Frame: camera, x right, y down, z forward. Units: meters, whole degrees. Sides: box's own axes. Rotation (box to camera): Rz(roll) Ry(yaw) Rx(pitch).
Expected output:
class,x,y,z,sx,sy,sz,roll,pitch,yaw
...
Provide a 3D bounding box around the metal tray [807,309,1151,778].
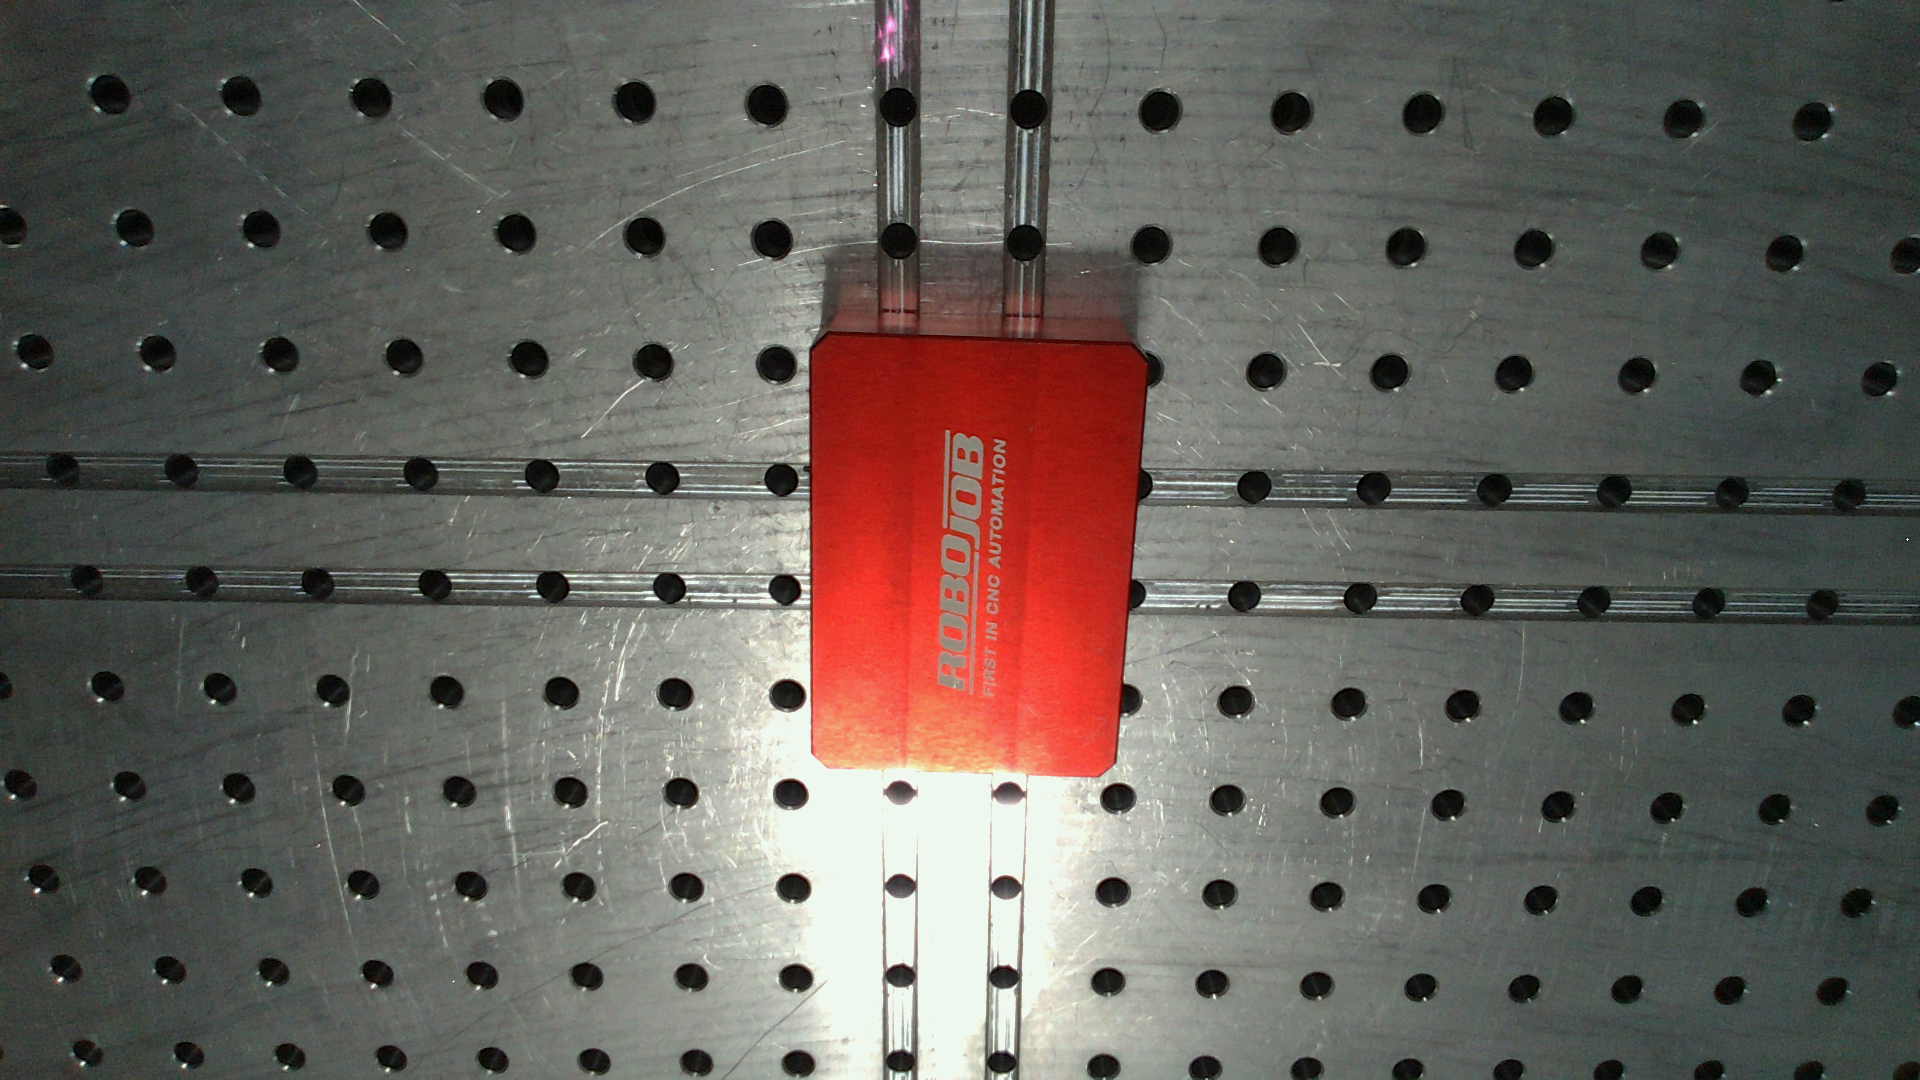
class,x,y,z,sx,sy,sz,roll,pitch,yaw
metal tray,0.003,0.003,0.394,0.090,0.030,0.130,2,110,-1
